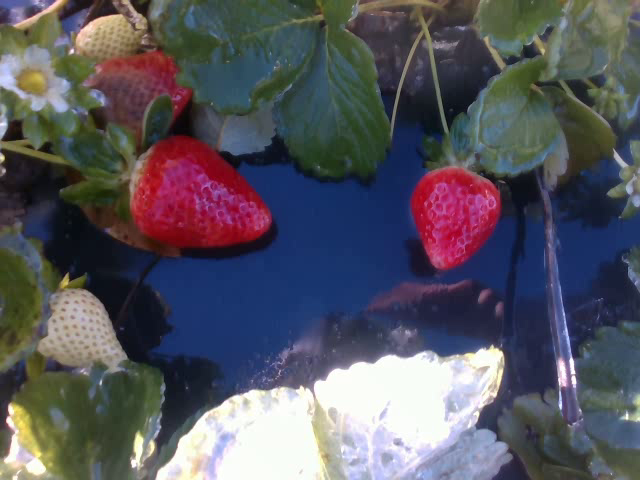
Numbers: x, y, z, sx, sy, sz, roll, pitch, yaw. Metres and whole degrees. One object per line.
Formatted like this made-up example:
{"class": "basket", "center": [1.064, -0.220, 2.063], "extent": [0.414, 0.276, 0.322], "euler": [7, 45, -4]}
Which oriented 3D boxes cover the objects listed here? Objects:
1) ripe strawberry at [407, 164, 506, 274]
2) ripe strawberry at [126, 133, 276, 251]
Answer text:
{"class": "ripe strawberry", "center": [0.052, -0.007, 0.240], "extent": [0.039, 0.047, 0.040], "euler": [15, -10, -10]}
{"class": "ripe strawberry", "center": [-0.043, -0.013, 0.238], "extent": [0.056, 0.044, 0.040], "euler": [26, 0, -10]}
